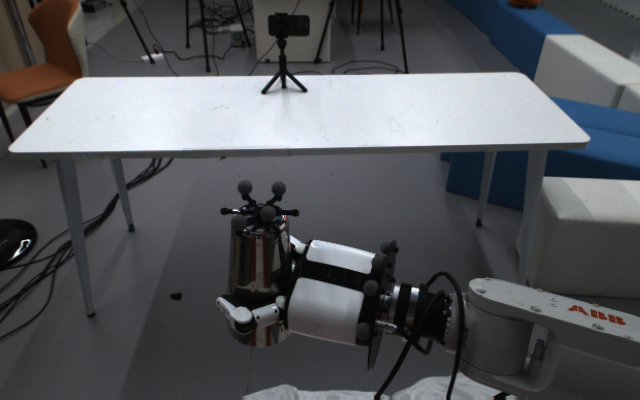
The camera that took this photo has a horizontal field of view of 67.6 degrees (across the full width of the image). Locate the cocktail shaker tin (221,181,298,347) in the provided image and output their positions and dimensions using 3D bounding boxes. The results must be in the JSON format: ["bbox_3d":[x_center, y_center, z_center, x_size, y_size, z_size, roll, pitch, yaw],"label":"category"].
[{"bbox_3d":[-0.071,0.091,0.605,0.093,0.170,0.093,3,34,-2],"label":"cocktail shaker tin"}]
